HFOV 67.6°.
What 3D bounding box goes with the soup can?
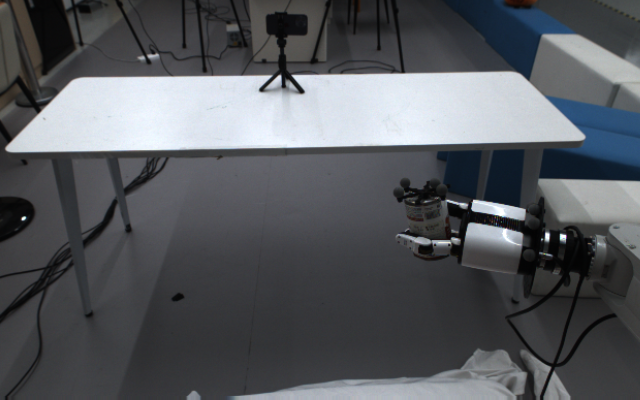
[{"bbox_3d":[0.179,0.038,0.787,0.067,0.101,0.067,-13,20,5],"label":"soup can"}]
